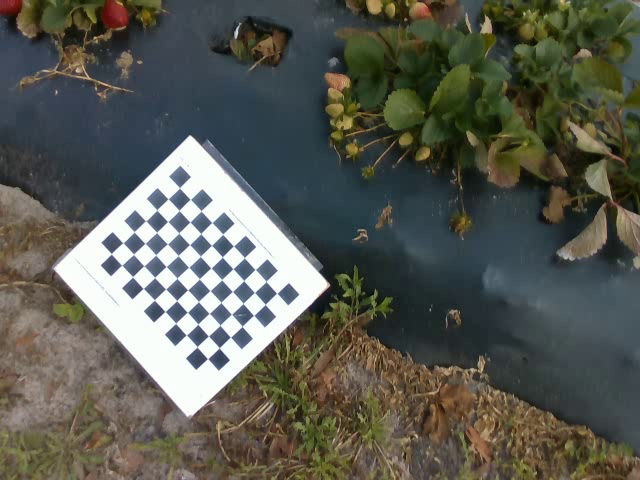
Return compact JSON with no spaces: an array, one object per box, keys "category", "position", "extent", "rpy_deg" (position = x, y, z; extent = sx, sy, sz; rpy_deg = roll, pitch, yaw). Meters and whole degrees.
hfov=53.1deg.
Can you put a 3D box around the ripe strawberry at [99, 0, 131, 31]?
[{"category":"ripe strawberry","position":[-0.314,-0.345,0.986],"extent":[0.046,0.043,0.047],"rpy_deg":[44,-2,32]}]

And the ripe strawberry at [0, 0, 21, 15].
[{"category":"ripe strawberry","position":[-0.476,-0.358,0.972],"extent":[0.043,0.051,0.043],"rpy_deg":[31,-28,2]}]
